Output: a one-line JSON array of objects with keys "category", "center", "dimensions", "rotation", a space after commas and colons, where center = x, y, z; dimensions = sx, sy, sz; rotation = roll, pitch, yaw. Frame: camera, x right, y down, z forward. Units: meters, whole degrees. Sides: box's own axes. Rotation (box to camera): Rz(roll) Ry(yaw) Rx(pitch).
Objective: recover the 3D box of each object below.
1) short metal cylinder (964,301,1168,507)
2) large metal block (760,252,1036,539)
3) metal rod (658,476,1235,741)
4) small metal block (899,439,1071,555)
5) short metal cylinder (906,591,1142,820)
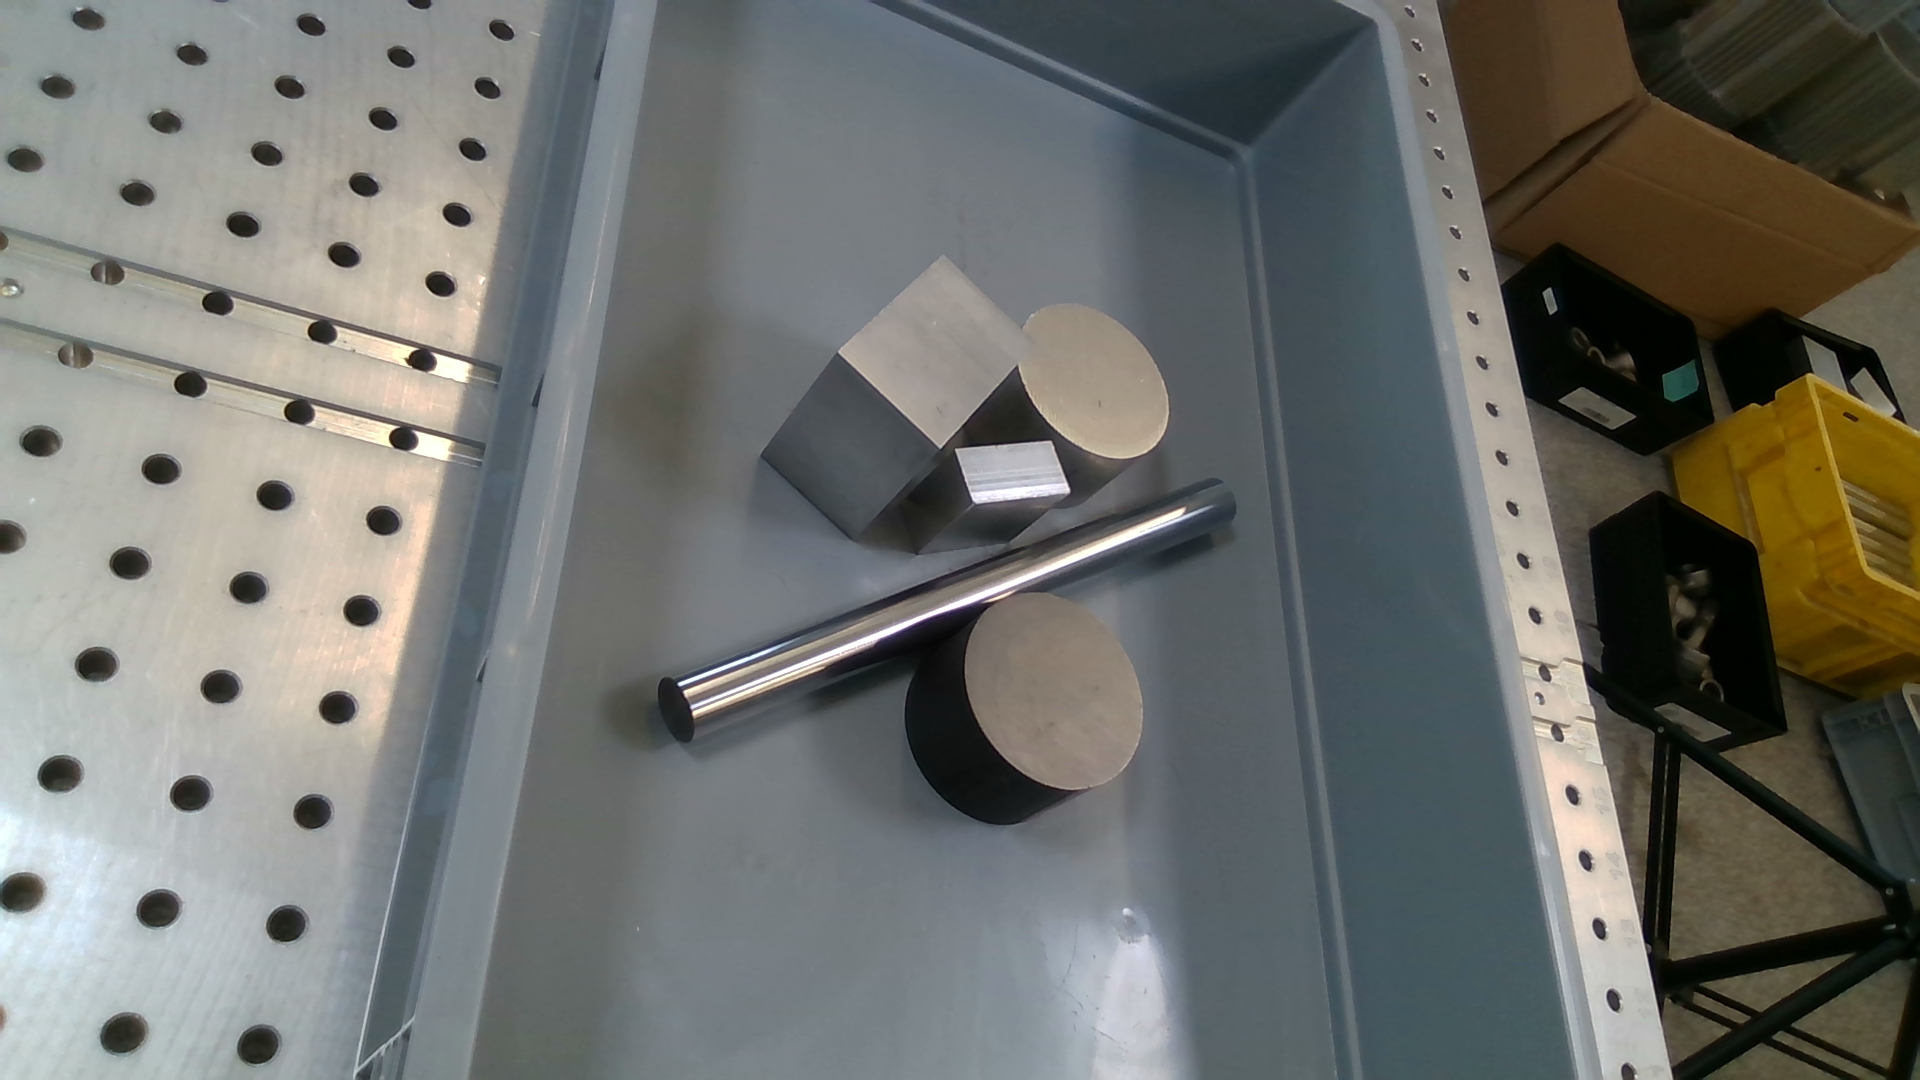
[{"category": "short metal cylinder", "center": [0.048, -0.062, 0.631], "dimensions": [0.080, 0.050, 0.080], "rotation": [14, 59, -25]}, {"category": "large metal block", "center": [-0.026, -0.058, 0.564], "dimensions": [0.050, 0.080, 0.080], "rotation": [43, 50, -4]}, {"category": "metal rod", "center": [0.012, 0.020, 0.581], "dimensions": [0.300, 0.025, 0.025], "rotation": [-19, 76, -37]}, {"category": "small metal block", "center": [0.010, -0.018, 0.584], "dimensions": [0.050, 0.050, 0.025], "rotation": [-8, 69, -34]}, {"category": "short metal cylinder", "center": [0.025, 0.067, 0.548], "dimensions": [0.080, 0.050, 0.080], "rotation": [14, 59, -25]}]
